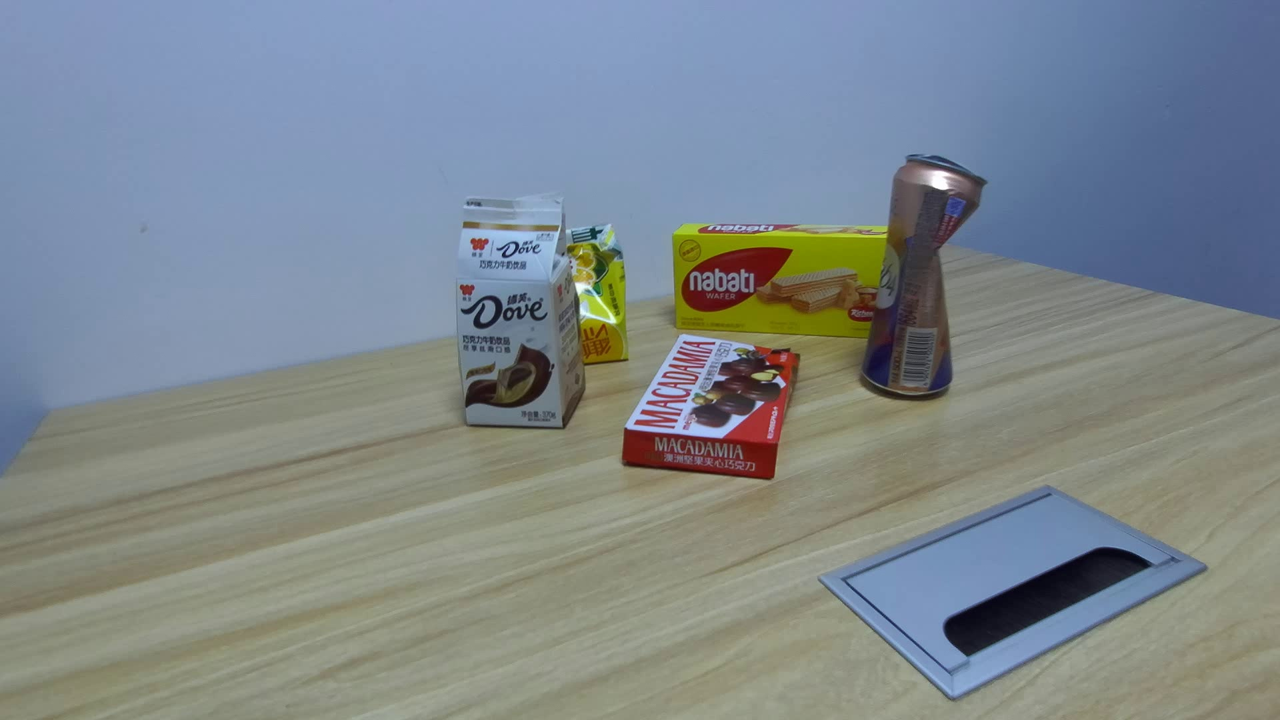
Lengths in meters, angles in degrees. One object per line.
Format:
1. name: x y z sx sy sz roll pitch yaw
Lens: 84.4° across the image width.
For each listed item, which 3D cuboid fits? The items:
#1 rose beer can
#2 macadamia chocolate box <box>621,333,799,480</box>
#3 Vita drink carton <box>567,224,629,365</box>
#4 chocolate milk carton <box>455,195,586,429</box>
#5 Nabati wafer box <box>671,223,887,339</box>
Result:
1. rose beer can: 0.200 -0.056 0.502 0.070 0.168 0.069 -8 22 -29
2. macadamia chocolate box: 0.059 0.023 0.504 0.102 0.027 0.187 5 23 13
3. Vita drink carton: -0.048 -0.053 0.593 0.071 0.110 0.046 -7 20 -7
4. chocolate milk carton: -0.088 -0.037 0.499 0.084 0.155 0.073 0 22 10
5. Nabati wafer box: 0.132 -0.072 0.641 0.202 0.093 0.042 3 20 13
